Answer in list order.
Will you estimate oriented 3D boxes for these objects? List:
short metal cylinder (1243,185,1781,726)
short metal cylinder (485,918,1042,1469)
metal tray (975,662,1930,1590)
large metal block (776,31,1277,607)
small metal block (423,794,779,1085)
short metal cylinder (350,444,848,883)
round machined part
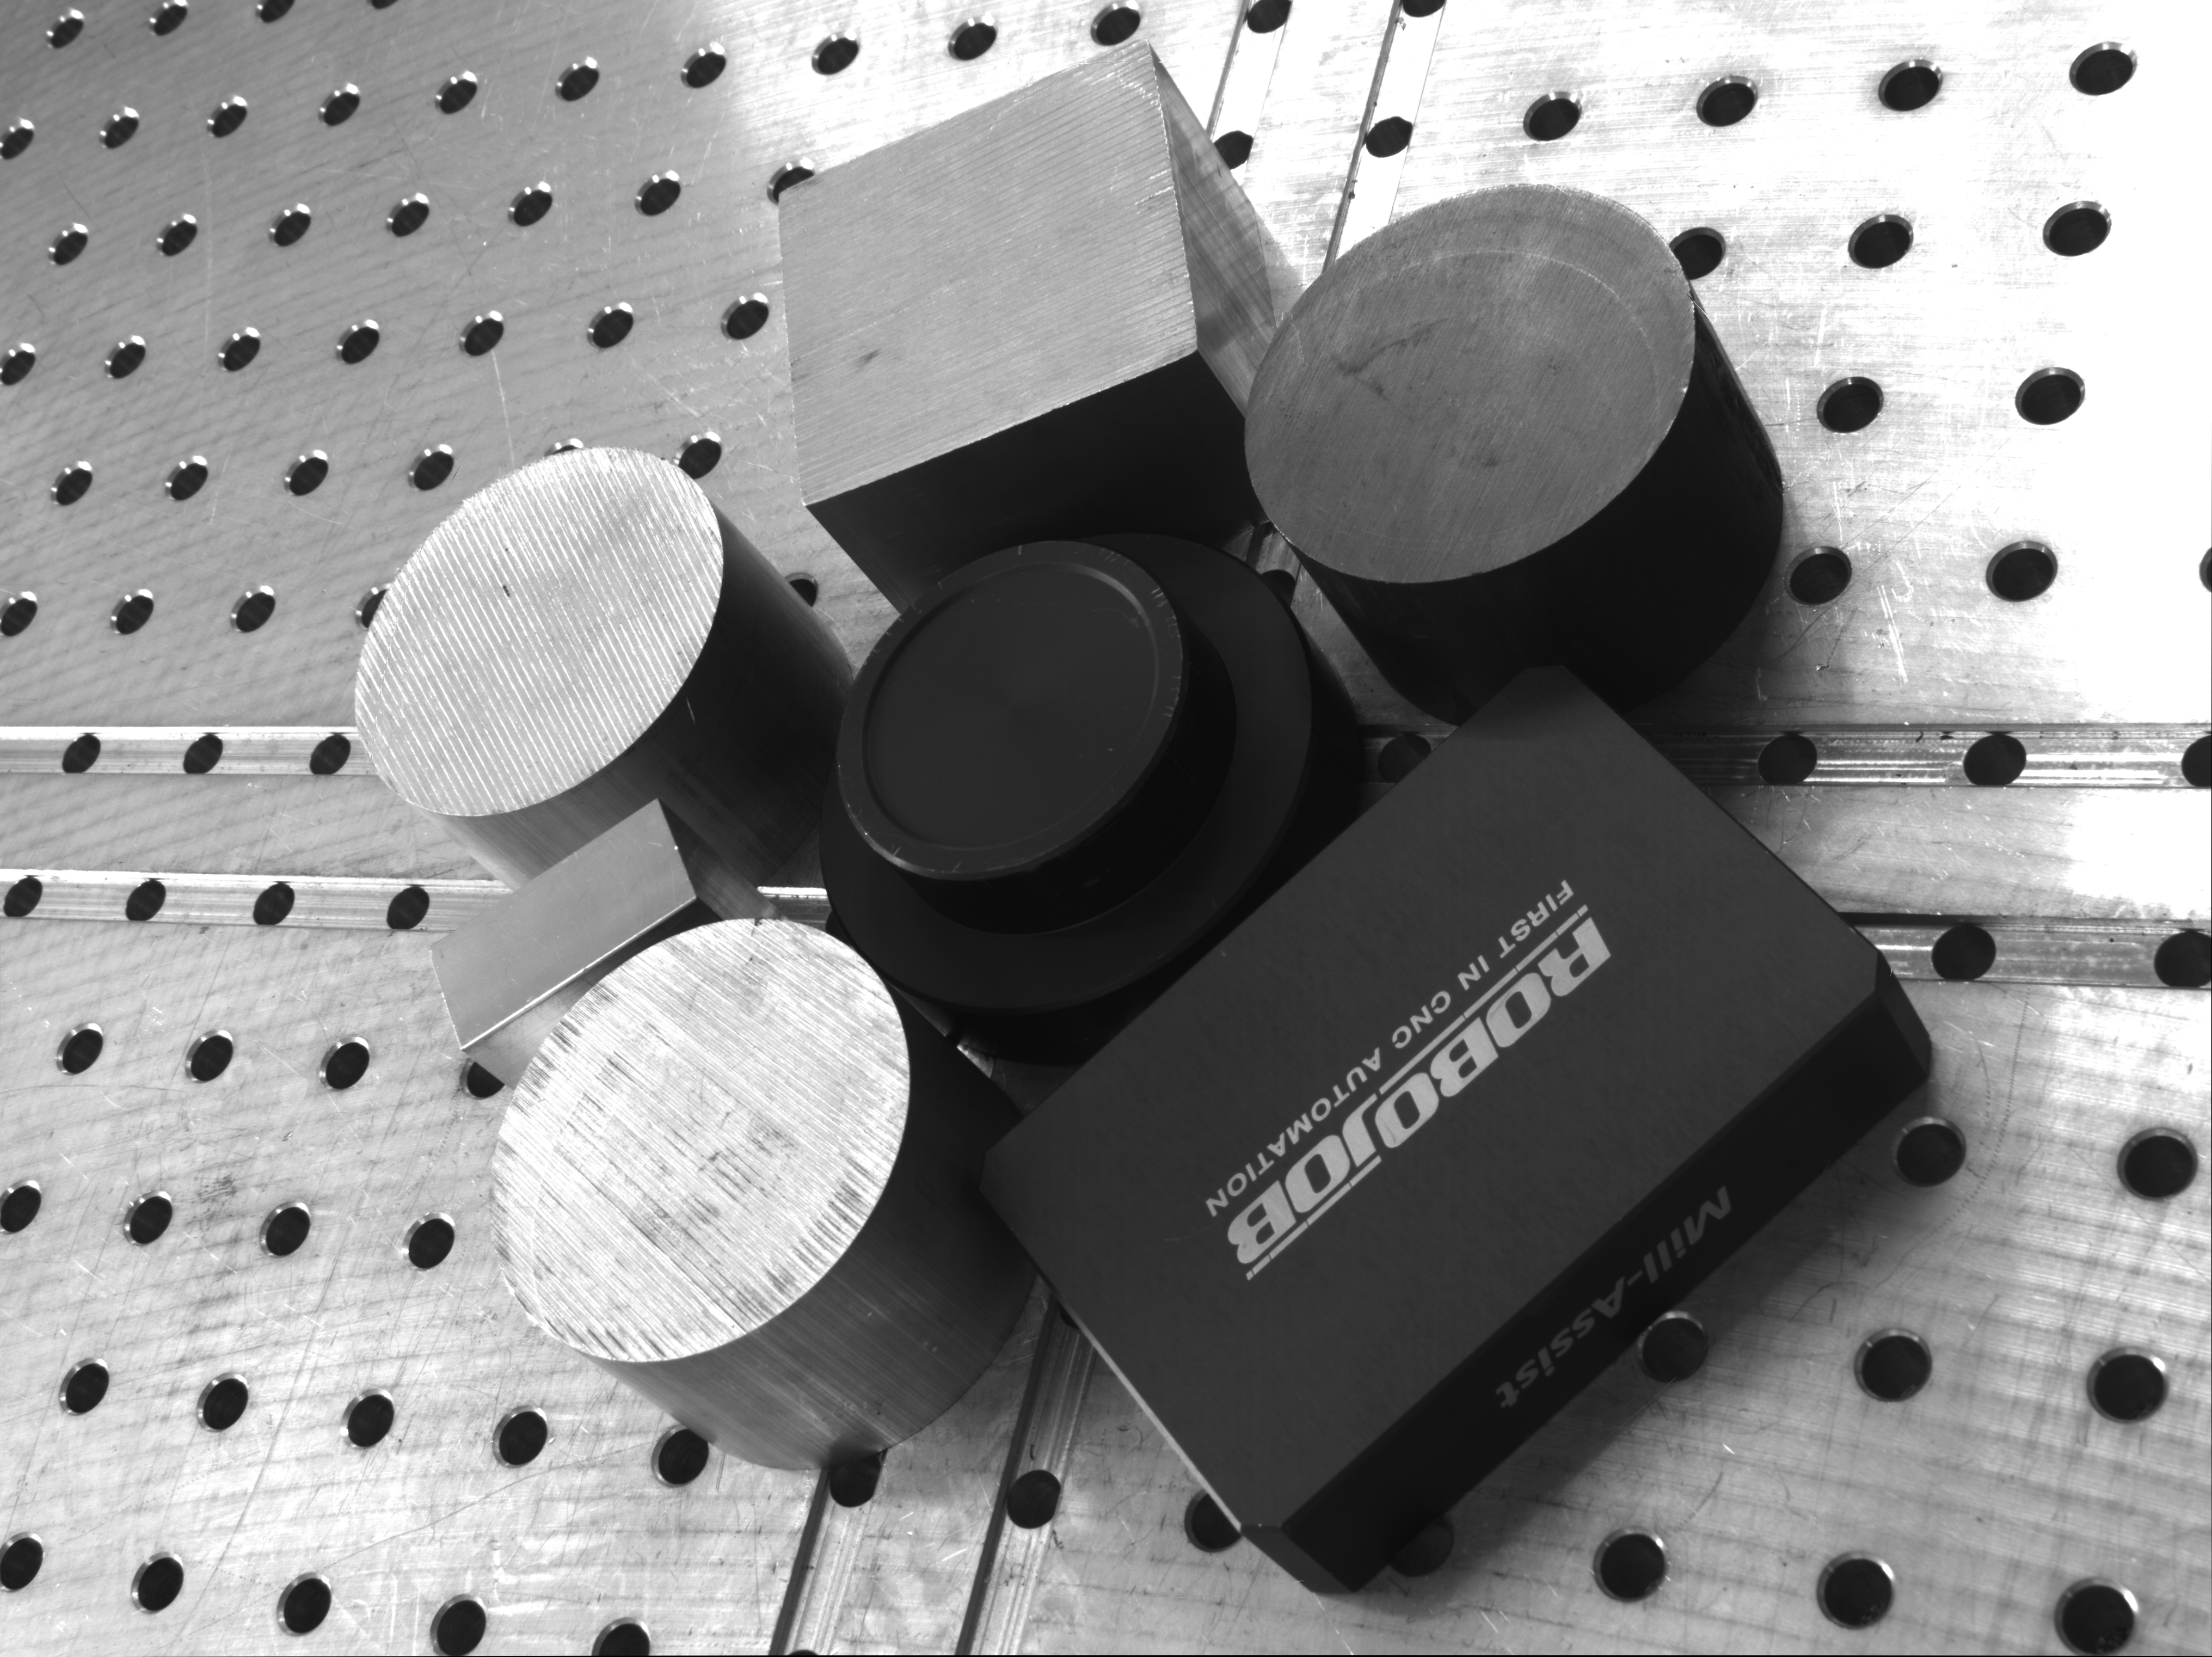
[{"bbox_3d":[0.070,-0.063,0.632,0.080,0.050,0.080,-14,56,21],"label":"short metal cylinder"},{"bbox_3d":[-0.058,0.062,0.624,0.080,0.050,0.080,-14,56,21],"label":"short metal cylinder"},{"bbox_3d":[0.054,0.045,0.586,0.130,0.030,0.090,-42,50,-1],"label":"metal tray"},{"bbox_3d":[-0.013,-0.092,0.696,0.080,0.050,0.080,-20,54,17],"label":"large metal block"},{"bbox_3d":[-0.085,0.028,0.659,0.050,0.050,0.025,-33,51,7],"label":"small metal block"},{"bbox_3d":[-0.096,-0.026,0.698,0.080,0.050,0.080,-14,56,21],"label":"short metal cylinder"},{"bbox_3d":[-0.009,-0.012,0.648,0.098,0.042,0.098,-13,56,21],"label":"round machined part"}]
